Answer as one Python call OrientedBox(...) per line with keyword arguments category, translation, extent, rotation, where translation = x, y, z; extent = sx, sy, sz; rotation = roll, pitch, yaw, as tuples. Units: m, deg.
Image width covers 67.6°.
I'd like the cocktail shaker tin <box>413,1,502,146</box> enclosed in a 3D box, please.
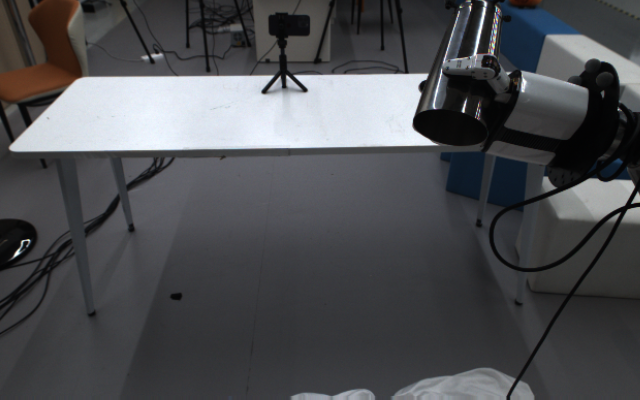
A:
OrientedBox(category="cocktail shaker tin", translation=(0.185, -0.166, 0.620), extent=(0.093, 0.093, 0.170), rotation=(13, 73, 15))
